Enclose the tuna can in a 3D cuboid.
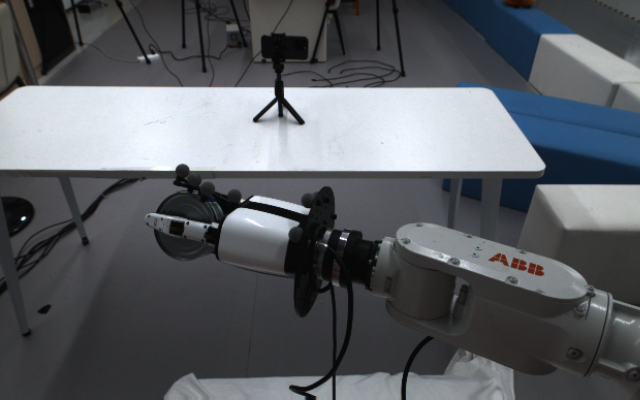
[{"bbox_3d":[-0.161,0.032,0.611,0.085,0.085,0.034,13,3,16],"label":"tuna can"}]
